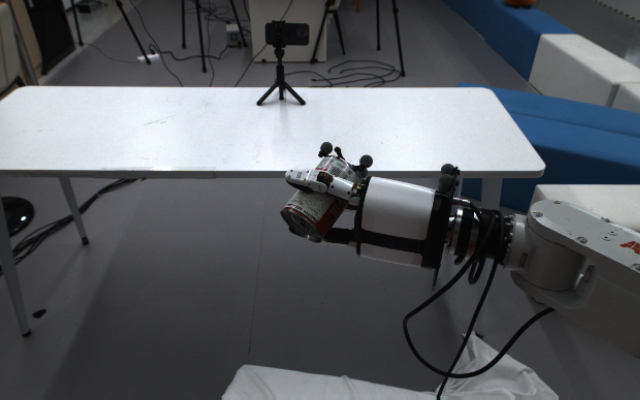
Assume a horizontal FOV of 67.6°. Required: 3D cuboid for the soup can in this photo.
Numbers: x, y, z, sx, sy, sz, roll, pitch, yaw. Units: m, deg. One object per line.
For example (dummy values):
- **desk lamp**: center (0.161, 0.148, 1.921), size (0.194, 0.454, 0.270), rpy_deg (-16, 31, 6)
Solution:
- **soup can**: center (0.004, -0.003, 0.653), size (0.067, 0.067, 0.101), rpy_deg (25, 66, 30)
